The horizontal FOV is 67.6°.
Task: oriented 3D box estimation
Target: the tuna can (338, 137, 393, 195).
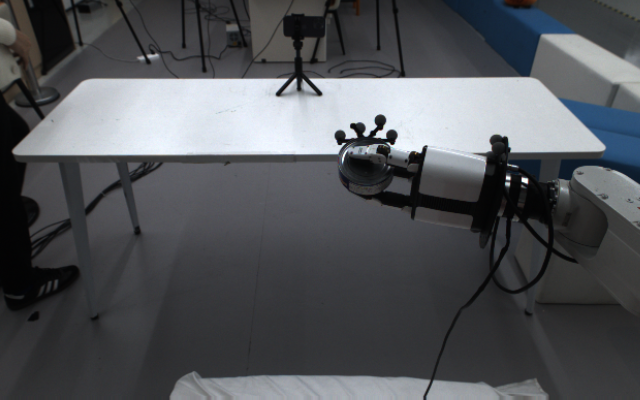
[{"bbox_3d":[0.068,-0.053,0.717,0.085,0.034,0.085,-2,55,3],"label":"tuna can"}]
